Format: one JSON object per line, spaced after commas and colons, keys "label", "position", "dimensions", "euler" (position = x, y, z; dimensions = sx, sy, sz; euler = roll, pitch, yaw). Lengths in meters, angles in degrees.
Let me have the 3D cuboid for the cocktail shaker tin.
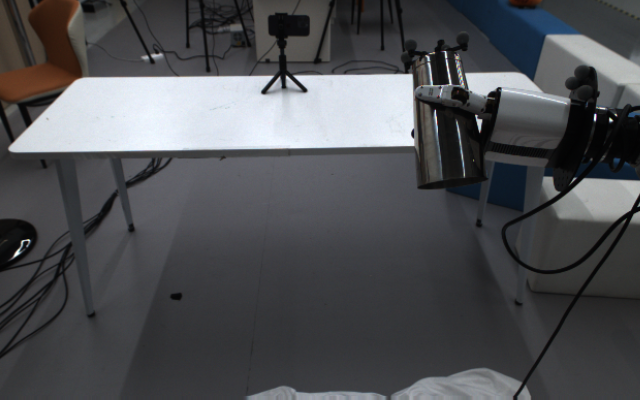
{"label": "cocktail shaker tin", "position": [0.167, -0.106, 0.649], "dimensions": [0.093, 0.170, 0.093], "euler": [-6, -7, -1]}
